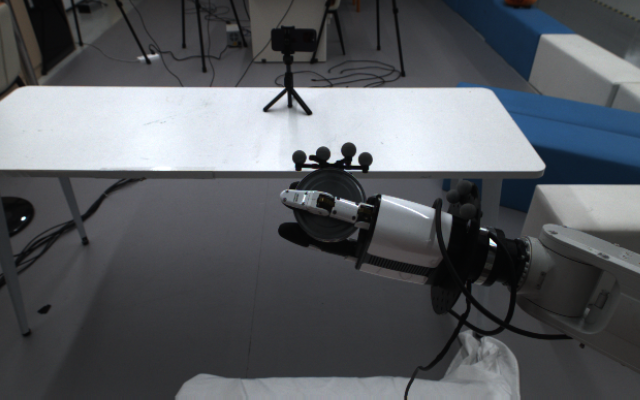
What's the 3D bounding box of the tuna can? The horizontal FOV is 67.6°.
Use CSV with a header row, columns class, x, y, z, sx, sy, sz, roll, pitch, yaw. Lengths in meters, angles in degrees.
class,x,y,z,sx,sy,sz,roll,pitch,yaw
tuna can,0.013,0.006,0.572,0.085,0.034,0.085,-1,76,4
